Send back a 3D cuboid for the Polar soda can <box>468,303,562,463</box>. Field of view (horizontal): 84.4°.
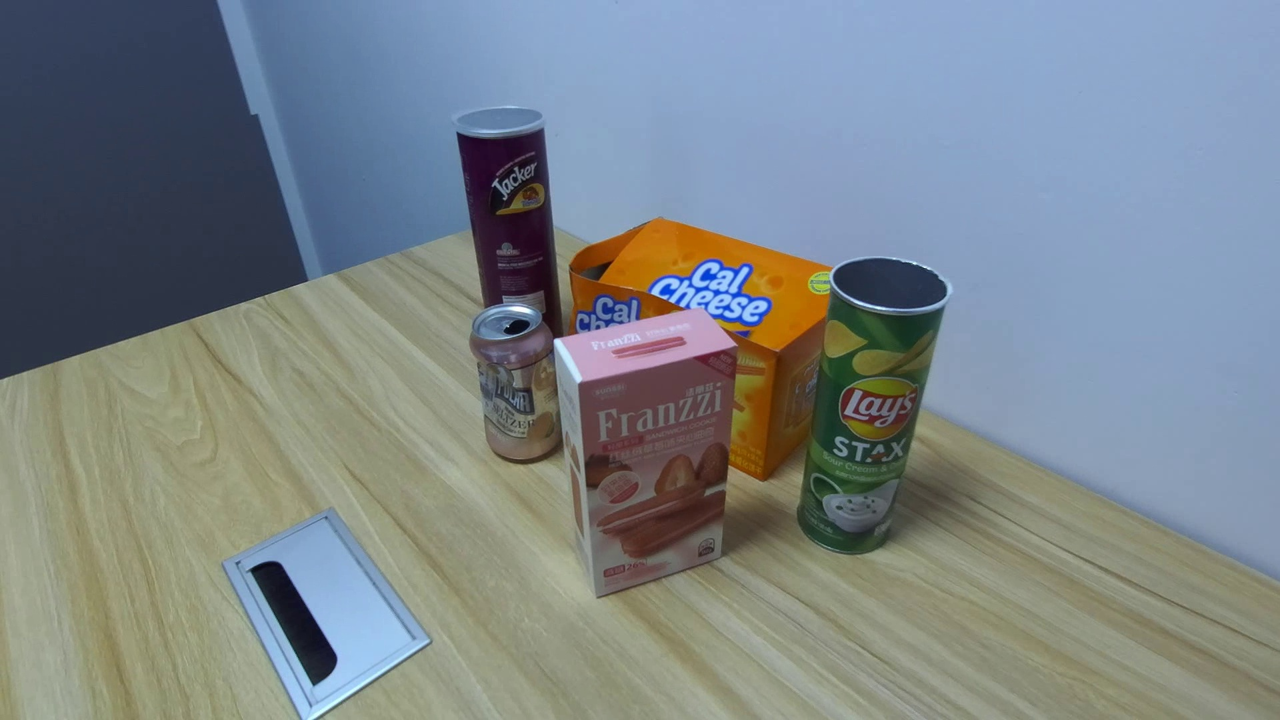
[{"bbox_3d":[-0.100,0.021,0.583,0.067,0.122,0.074,-6,33,-4],"label":"Polar soda can"}]

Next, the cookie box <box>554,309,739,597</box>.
[{"bbox_3d":[0.005,0.064,0.451,0.096,0.185,0.048,-13,37,-17],"label":"cookie box"}]

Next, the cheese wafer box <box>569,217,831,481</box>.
[{"bbox_3d":[0.057,-0.021,0.629,0.229,0.132,0.153,24,43,32],"label":"cheese wafer box"}]

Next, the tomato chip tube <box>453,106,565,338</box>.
[{"bbox_3d":[-0.119,-0.109,0.670,0.078,0.234,0.078,-1,33,1],"label":"tomato chip tube"}]

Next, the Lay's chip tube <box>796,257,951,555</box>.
[{"bbox_3d":[0.149,0.035,0.467,0.071,0.203,0.071,-1,35,1],"label":"Lay's chip tube"}]
